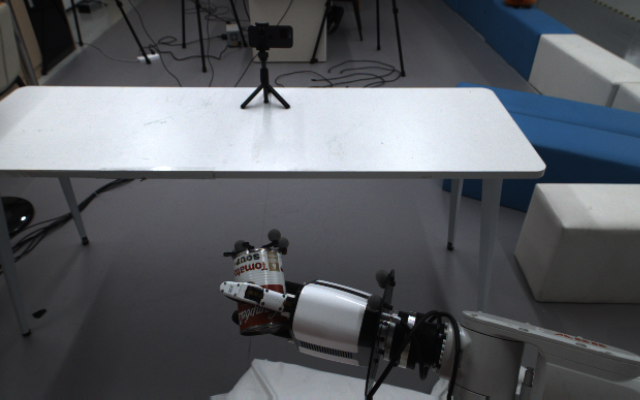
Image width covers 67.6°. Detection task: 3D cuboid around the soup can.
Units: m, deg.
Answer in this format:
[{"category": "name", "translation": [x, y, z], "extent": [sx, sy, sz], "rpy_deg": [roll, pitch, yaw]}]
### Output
[{"category": "soup can", "translation": [-0.076, 0.124, 0.644], "extent": [0.067, 0.067, 0.101], "rpy_deg": [-6, 68, -12]}]
